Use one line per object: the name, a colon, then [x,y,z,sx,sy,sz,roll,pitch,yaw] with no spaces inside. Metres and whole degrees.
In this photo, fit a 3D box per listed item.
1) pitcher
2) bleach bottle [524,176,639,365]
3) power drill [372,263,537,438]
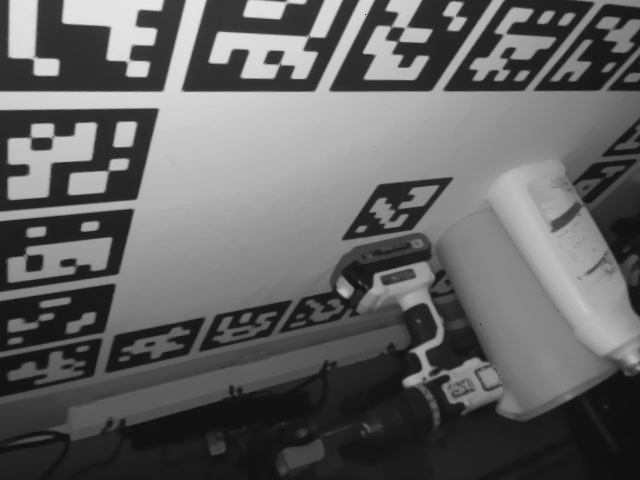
pitcher: [0.282,0.095,0.832,0.190,0.242,0.132,-23,148,-7]
bleach bottle: [0.331,0.046,0.756,0.104,0.251,0.067,-13,147,-23]
power drill: [0.126,0.119,0.765,0.187,0.187,0.056,-6,142,-22]
